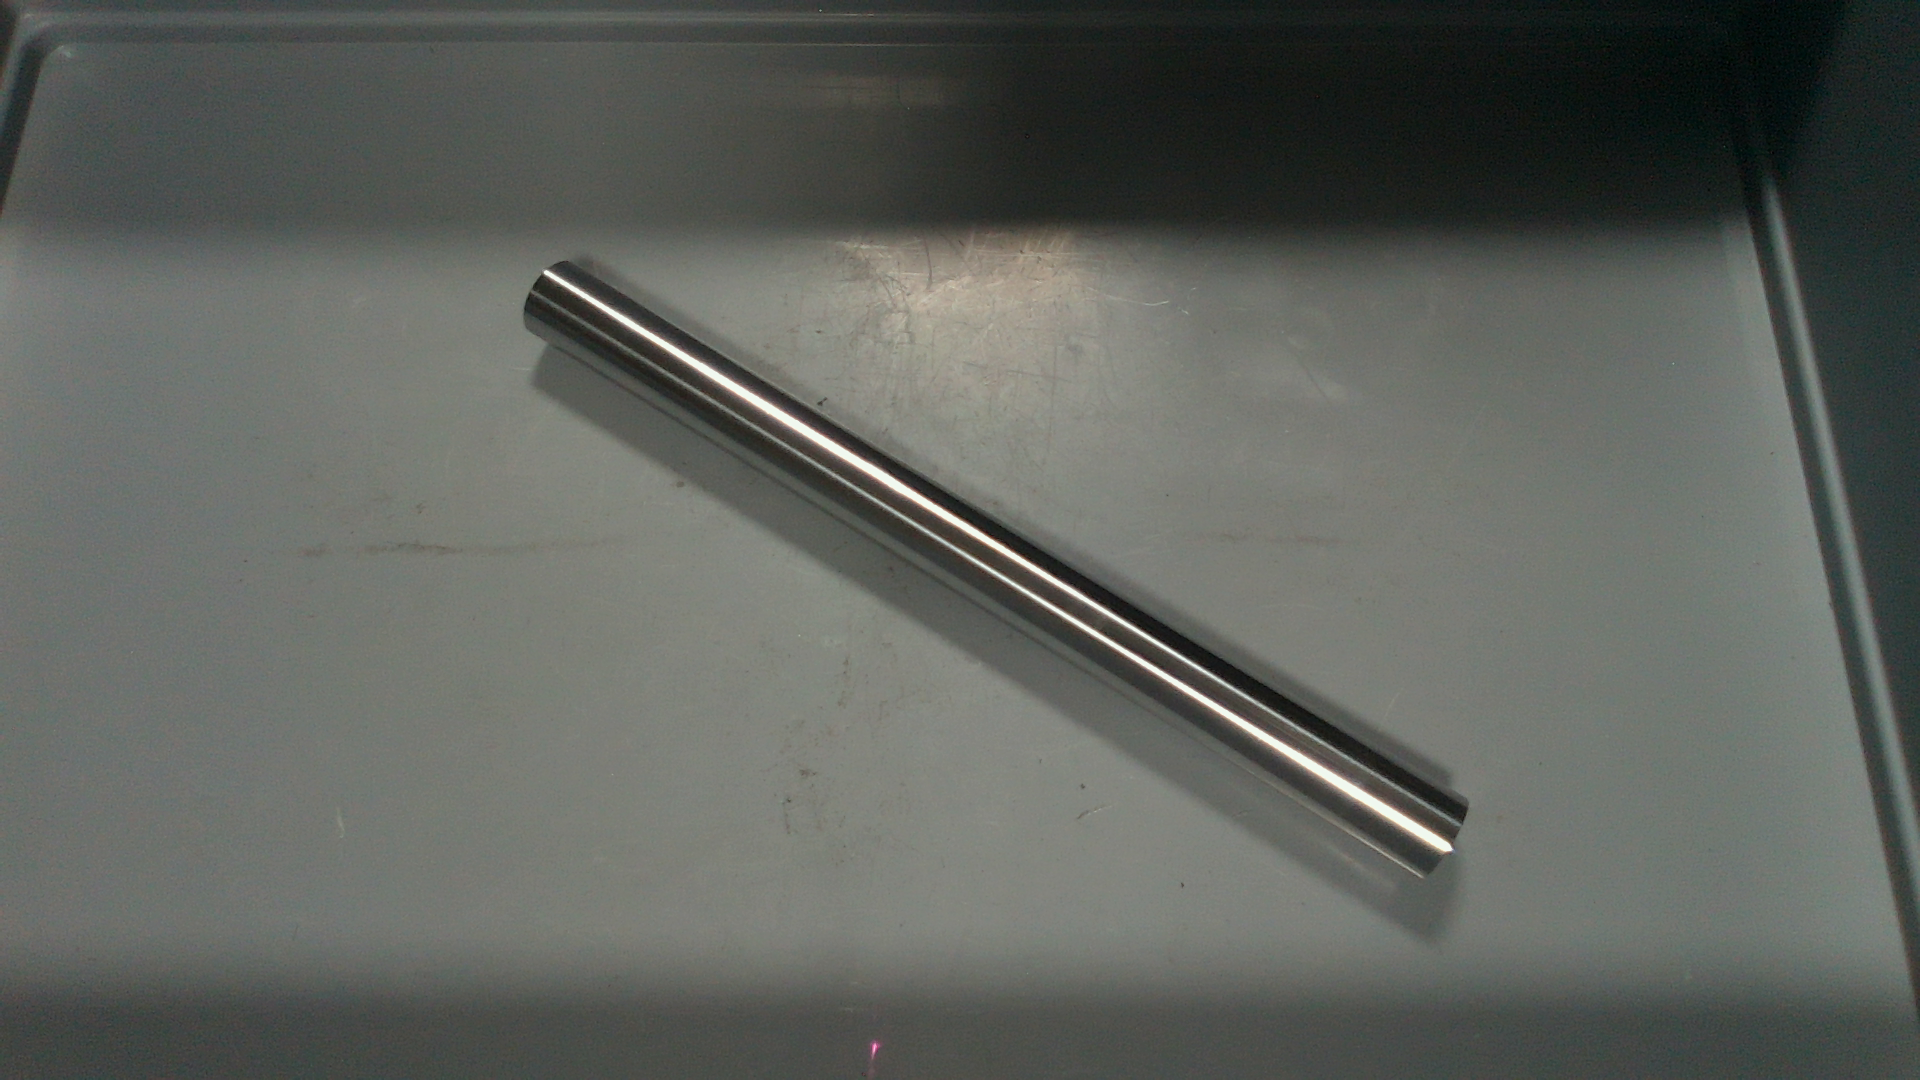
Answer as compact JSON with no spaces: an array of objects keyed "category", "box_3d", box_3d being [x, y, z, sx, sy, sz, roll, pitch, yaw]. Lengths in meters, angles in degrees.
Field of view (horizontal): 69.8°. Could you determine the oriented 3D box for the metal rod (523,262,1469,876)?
[{"category":"metal rod","box_3d":[0.002,0.002,0.392,0.300,0.025,0.025,31,73,11]}]
